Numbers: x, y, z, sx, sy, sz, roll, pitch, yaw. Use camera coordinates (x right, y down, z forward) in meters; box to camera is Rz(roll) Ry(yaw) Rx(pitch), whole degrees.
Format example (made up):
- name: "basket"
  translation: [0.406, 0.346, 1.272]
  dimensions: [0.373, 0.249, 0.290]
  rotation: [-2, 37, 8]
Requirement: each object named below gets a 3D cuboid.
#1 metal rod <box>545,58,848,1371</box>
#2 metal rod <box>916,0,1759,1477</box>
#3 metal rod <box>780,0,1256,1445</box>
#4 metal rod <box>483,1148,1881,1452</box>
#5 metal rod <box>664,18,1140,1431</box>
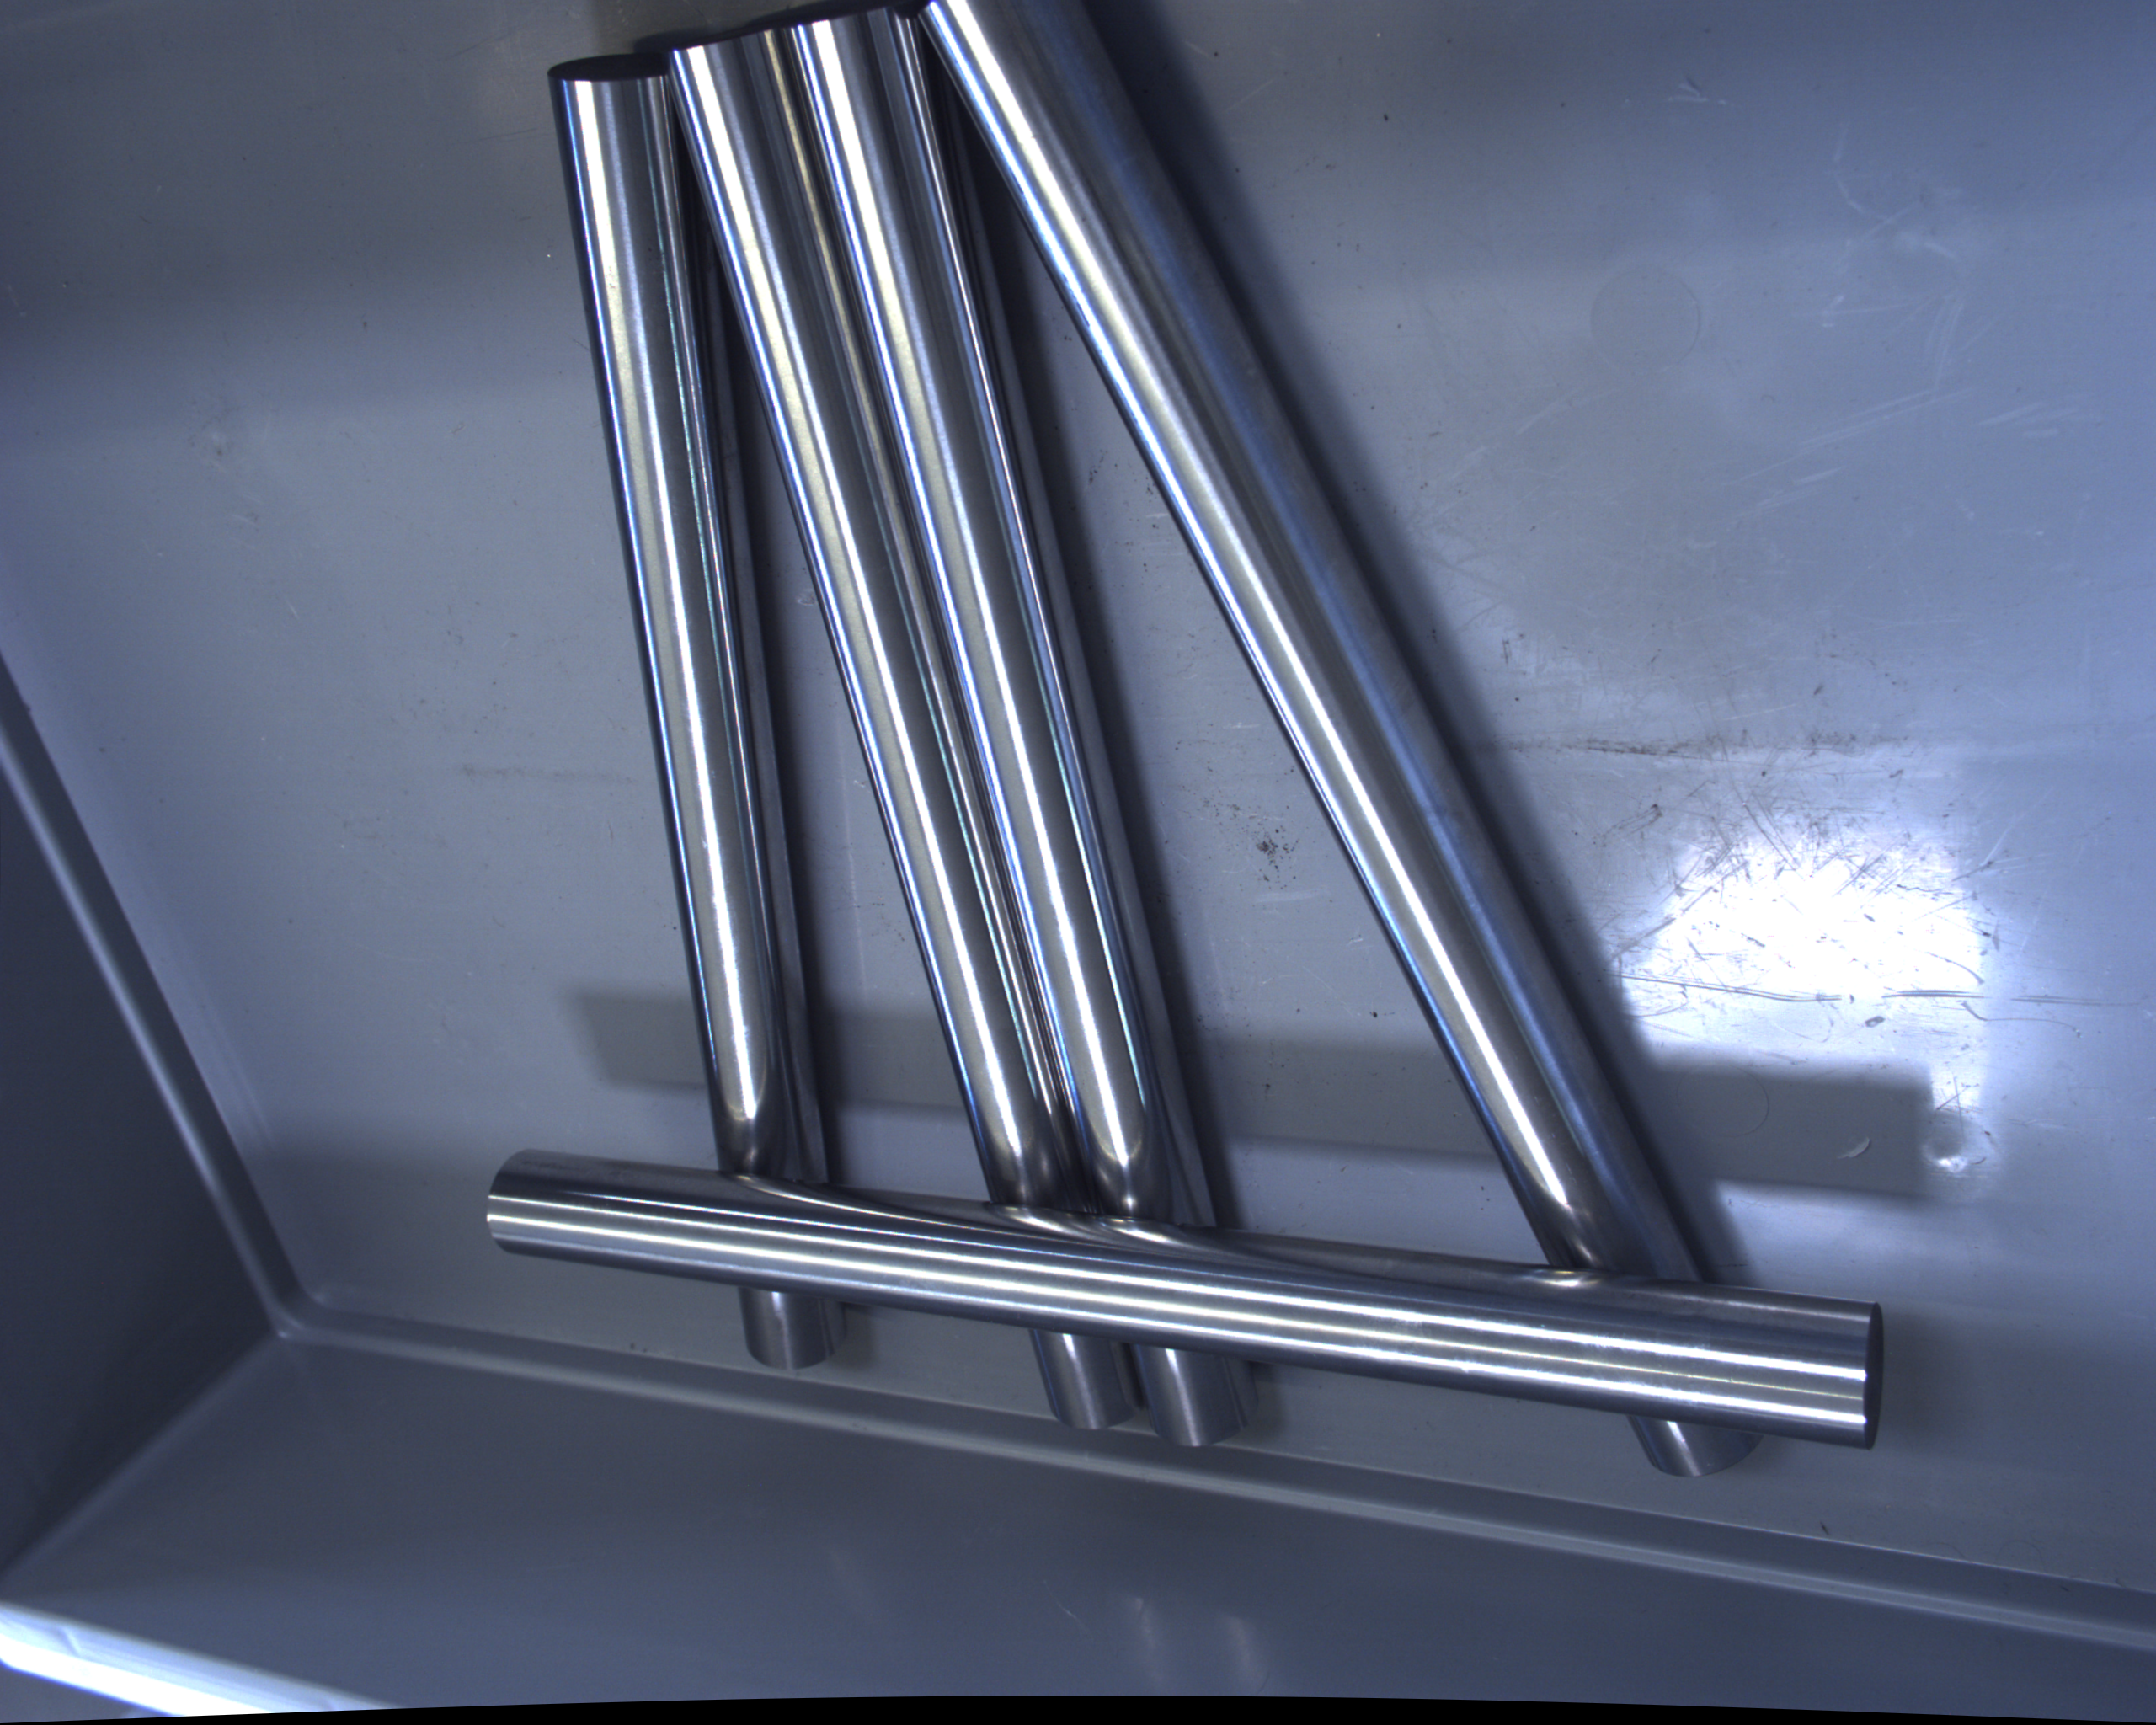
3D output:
- name: "metal rod"
  translation: [-0.075, -0.011, 0.440]
  dimensions: [0.025, 0.025, 0.298]
  rotation: [11, 124, 22]
- name: "metal rod"
  translation: [0.054, -0.014, 0.370]
  dimensions: [0.025, 0.025, 0.299]
  rotation: [-17, 110, 35]
- name: "metal rod"
  translation: [-0.004, -0.009, 0.404]
  dimensions: [0.025, 0.025, 0.298]
  rotation: [1, 119, 28]
- name: "metal rod"
  translation: [0.002, 0.084, 0.424]
  dimensions: [0.300, 0.025, 0.025]
  rotation: [2, 119, 27]
- name: "metal rod"
  translation: [-0.026, -0.009, 0.415]
  dimensions: [0.025, 0.025, 0.298]
  rotation: [1, 119, 28]
